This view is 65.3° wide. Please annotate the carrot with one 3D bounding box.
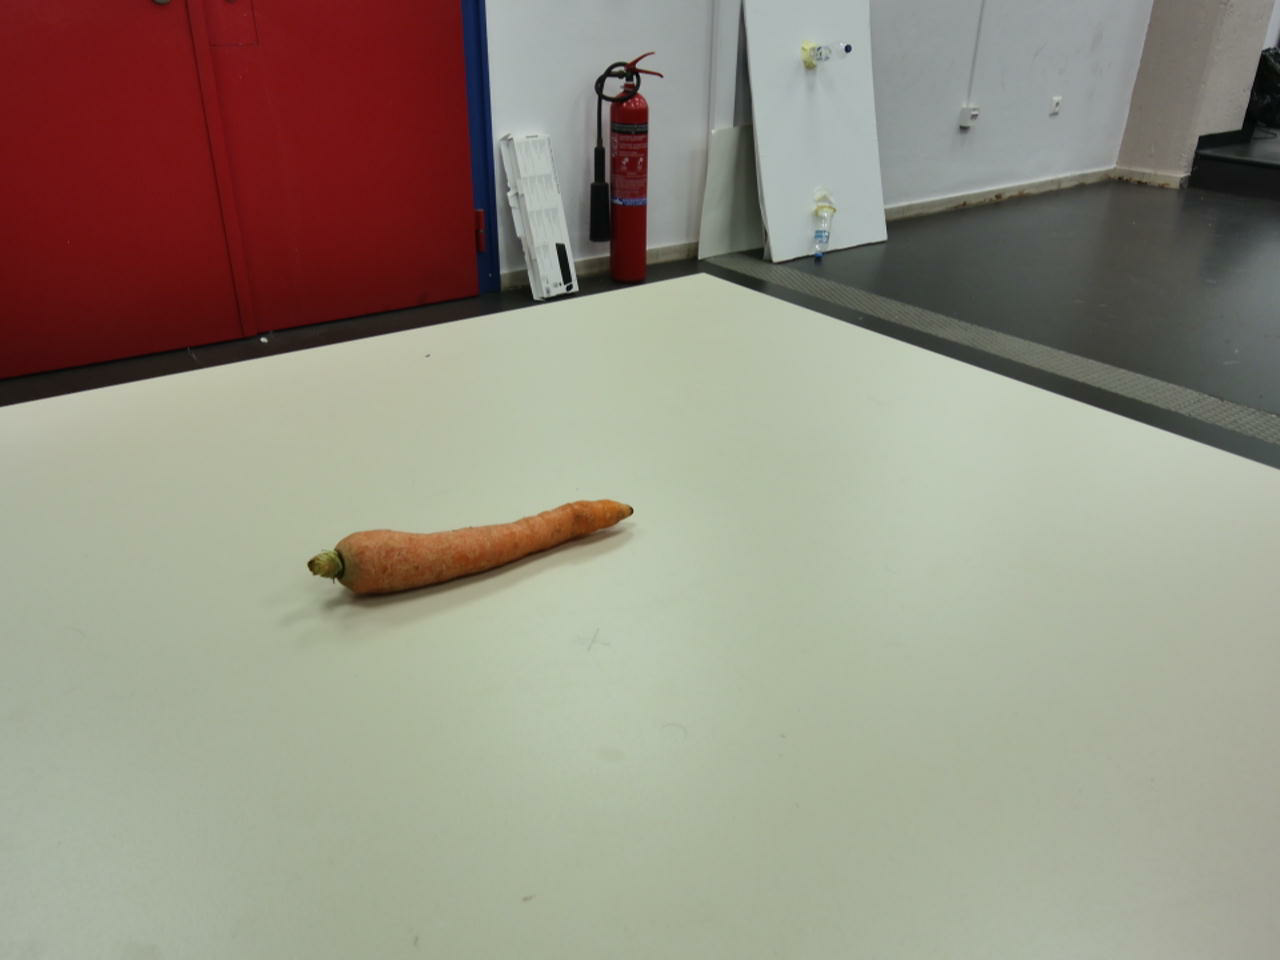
[{"bbox_3d":[-0.076,0.028,0.496,0.173,0.032,0.030,-12,28,-26],"label":"carrot"}]
